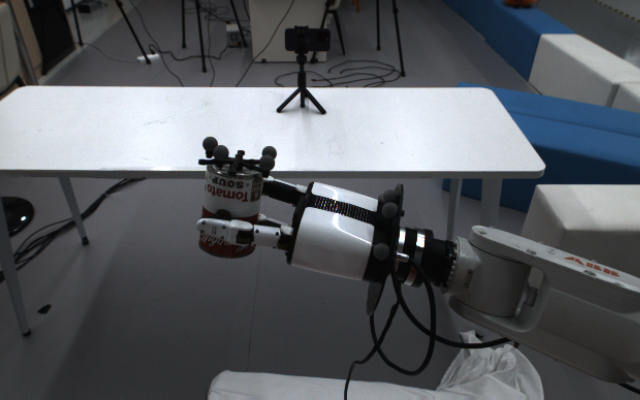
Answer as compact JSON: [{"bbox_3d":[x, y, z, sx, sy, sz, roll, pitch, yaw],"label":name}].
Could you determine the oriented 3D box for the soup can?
[{"bbox_3d":[-0.102,0.009,0.569,0.067,0.101,0.067,9,20,-3],"label":"soup can"}]
